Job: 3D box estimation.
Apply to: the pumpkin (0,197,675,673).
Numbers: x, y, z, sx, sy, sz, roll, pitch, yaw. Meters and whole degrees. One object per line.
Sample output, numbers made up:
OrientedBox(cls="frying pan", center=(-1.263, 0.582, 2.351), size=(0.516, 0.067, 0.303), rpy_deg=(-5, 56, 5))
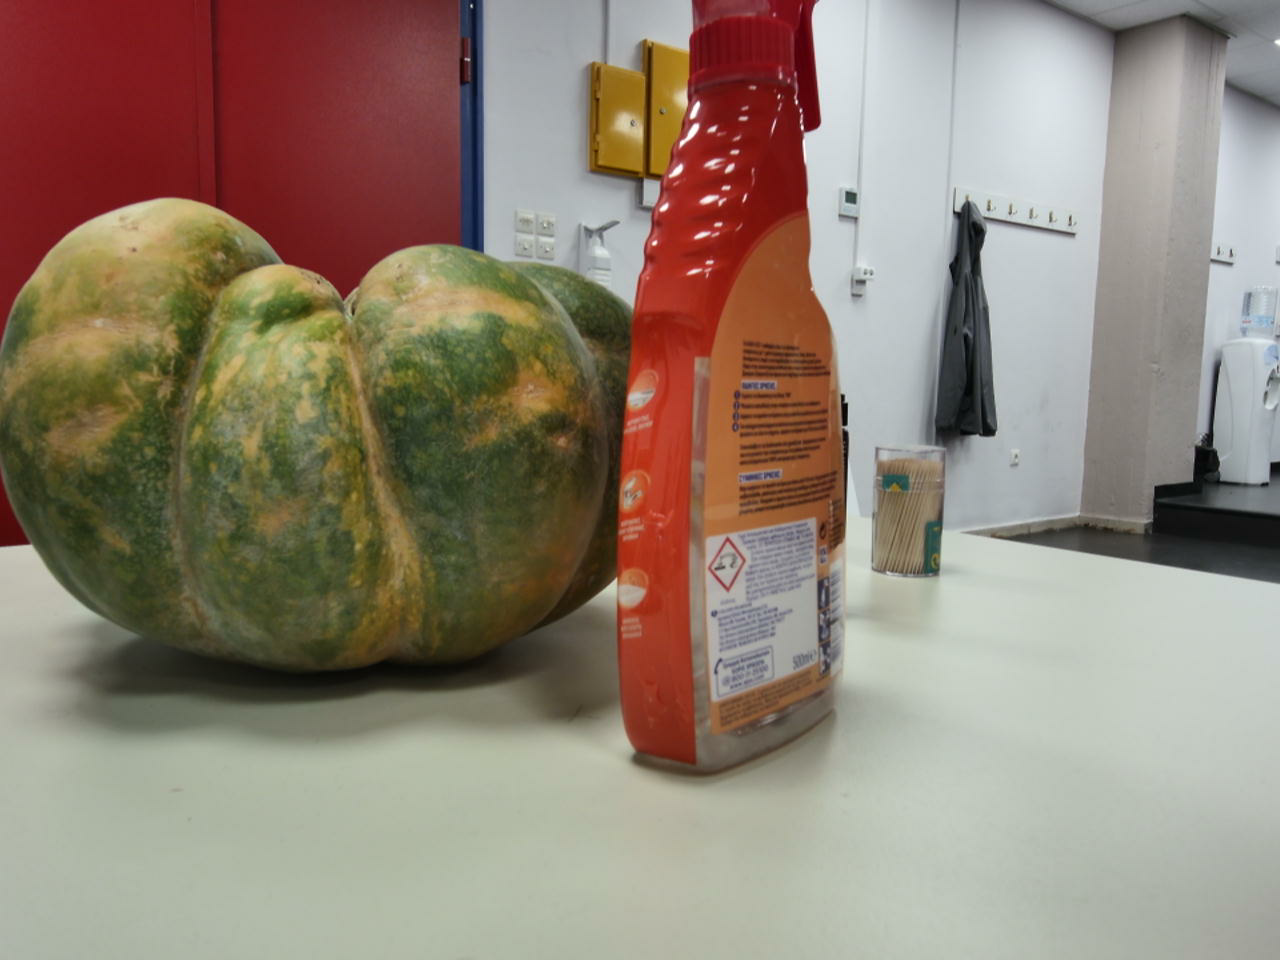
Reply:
OrientedBox(cls="pumpkin", center=(-0.122, -0.015, 0.415), size=(0.270, 0.173, 0.237), rpy_deg=(0, 4, -2))
